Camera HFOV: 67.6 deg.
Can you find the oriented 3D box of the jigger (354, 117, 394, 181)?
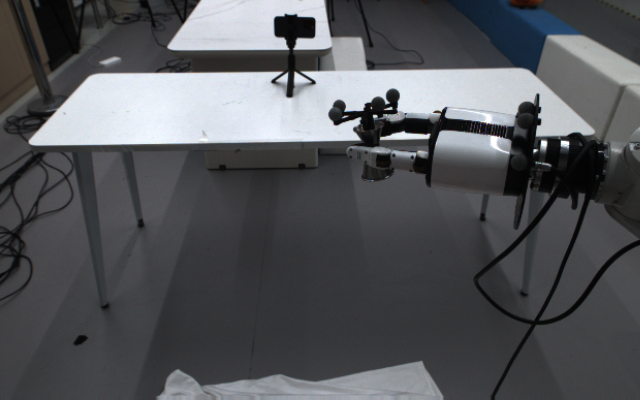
[{"bbox_3d":[0.069,-0.064,0.629,0.043,0.071,0.043,-12,24,5],"label":"jigger"}]
